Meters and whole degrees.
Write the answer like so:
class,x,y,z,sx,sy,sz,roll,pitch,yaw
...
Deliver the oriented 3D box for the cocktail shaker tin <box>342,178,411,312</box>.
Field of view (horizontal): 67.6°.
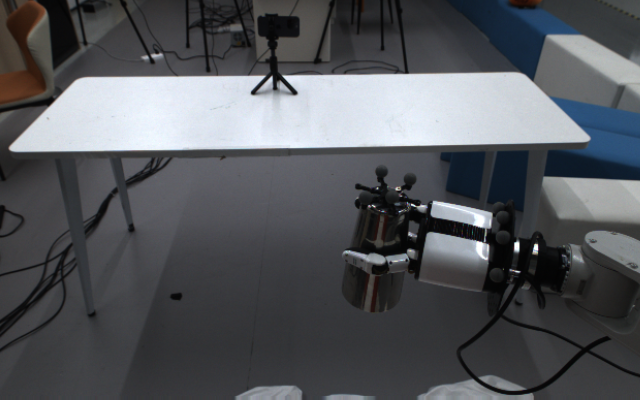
class,x,y,z,sx,sy,sz,roll,pitch,yaw
cocktail shaker tin,0.085,0.067,0.690,0.093,0.170,0.093,3,36,-2
